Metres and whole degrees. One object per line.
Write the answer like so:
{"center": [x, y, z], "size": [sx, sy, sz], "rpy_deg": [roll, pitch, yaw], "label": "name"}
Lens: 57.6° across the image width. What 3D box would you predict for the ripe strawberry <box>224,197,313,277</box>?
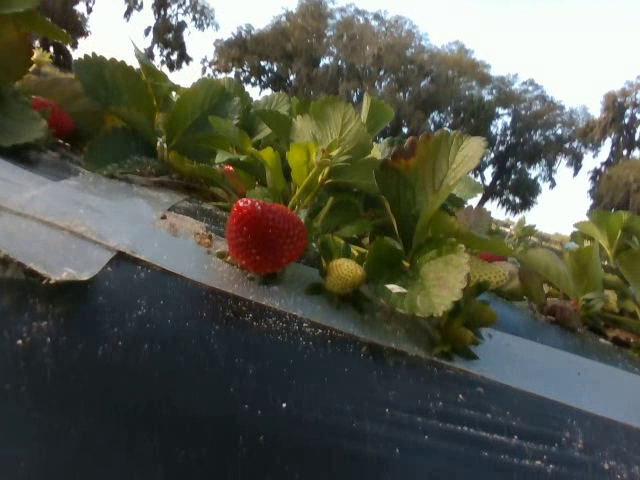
{"center": [-0.013, -0.004, 0.133], "size": [0.023, 0.021, 0.026], "rpy_deg": [0, -13, 10], "label": "ripe strawberry"}
